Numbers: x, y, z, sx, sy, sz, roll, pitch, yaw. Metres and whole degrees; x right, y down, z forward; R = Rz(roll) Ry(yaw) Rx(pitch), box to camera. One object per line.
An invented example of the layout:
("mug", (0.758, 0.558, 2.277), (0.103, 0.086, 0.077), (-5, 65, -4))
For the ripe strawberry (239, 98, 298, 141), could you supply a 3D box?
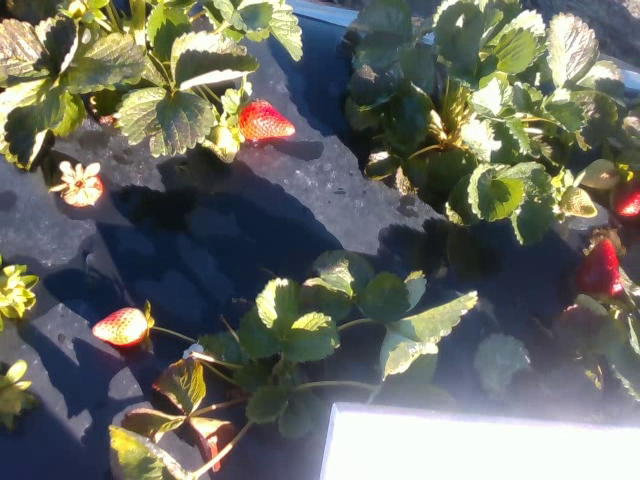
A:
("ripe strawberry", (-0.052, -0.113, 0.596), (0.064, 0.049, 0.052), (16, 6, 0))
